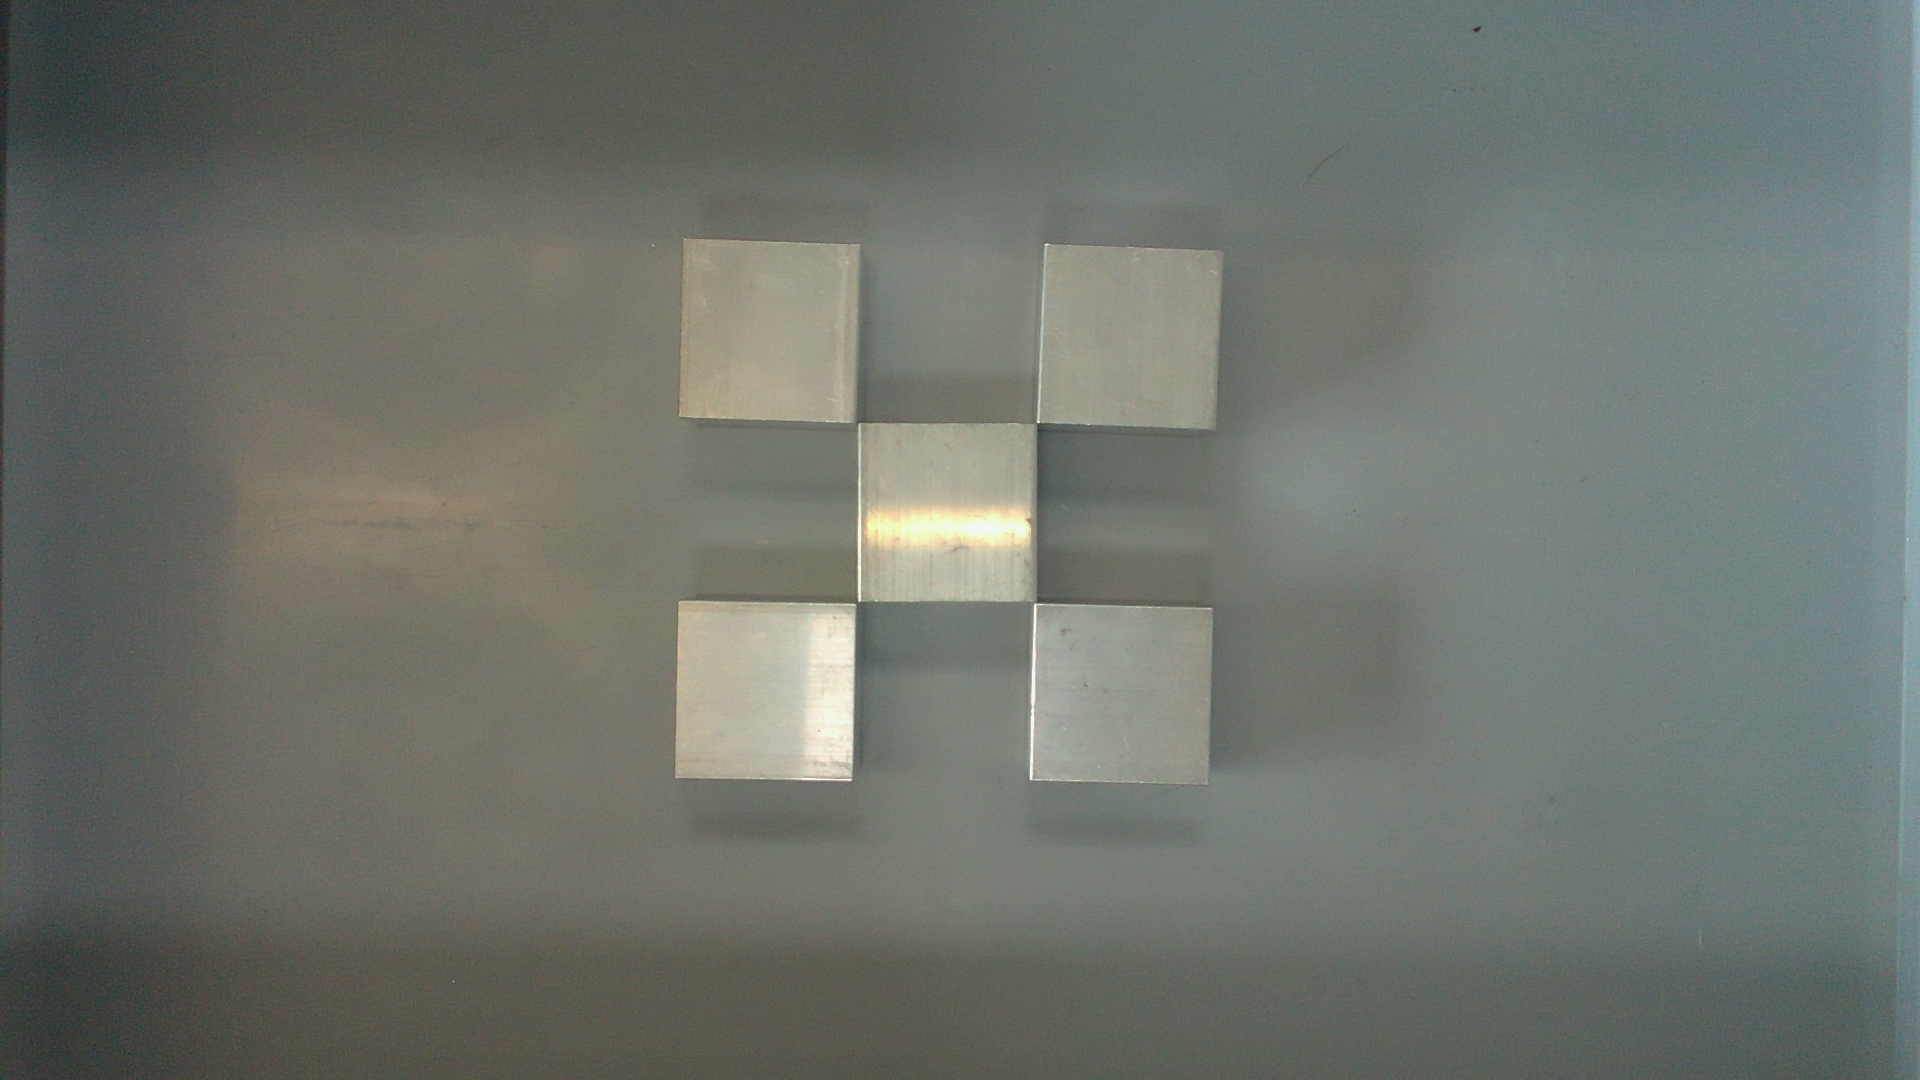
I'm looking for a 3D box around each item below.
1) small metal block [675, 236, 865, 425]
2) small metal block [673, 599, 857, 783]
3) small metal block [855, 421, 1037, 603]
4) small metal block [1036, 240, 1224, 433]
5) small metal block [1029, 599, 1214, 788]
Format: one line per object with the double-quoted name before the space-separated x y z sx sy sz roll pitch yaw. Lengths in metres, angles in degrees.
"small metal block" -0.053 -0.059 0.393 0.050 0.025 0.050 2 90 0
"small metal block" -0.054 0.042 0.394 0.050 0.025 0.050 1 90 0
"small metal block" -0.004 -0.008 0.393 0.050 0.025 0.050 0 90 0
"small metal block" 0.047 -0.057 0.393 0.050 0.025 0.050 2 90 0
"small metal block" 0.045 0.043 0.394 0.050 0.025 0.050 1 90 0
